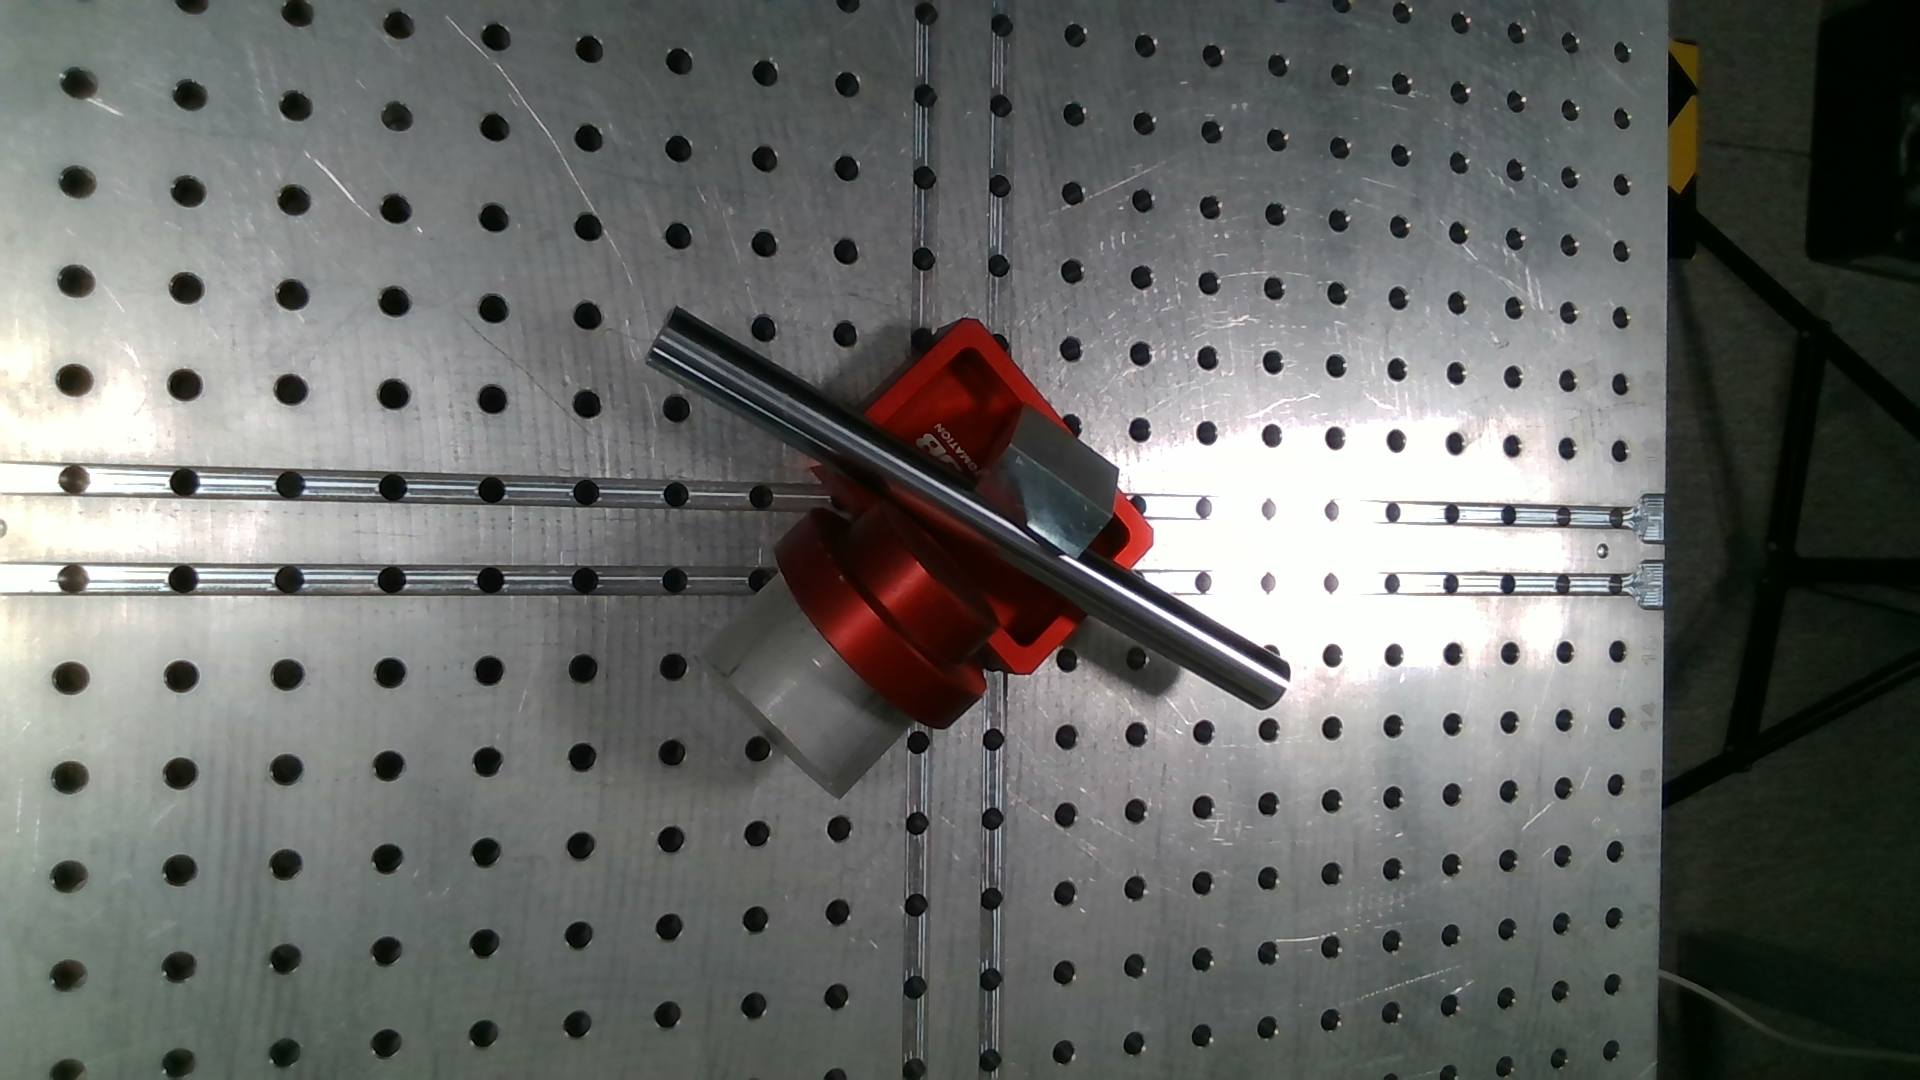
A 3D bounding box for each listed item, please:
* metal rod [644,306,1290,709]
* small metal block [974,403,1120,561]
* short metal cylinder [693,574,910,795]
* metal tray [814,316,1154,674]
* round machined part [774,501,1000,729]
[{"bbox_3d":[0.012,-0.007,0.561,0.300,0.025,0.025,29,80,-18],"label":"metal rod"},{"bbox_3d":[0.037,-0.025,0.565,0.050,0.050,0.025,35,116,-7],"label":"small metal block"},{"bbox_3d":[-0.058,0.055,0.537,0.050,0.080,0.080,-45,104,-15],"label":"short metal cylinder"},{"bbox_3d":[0.011,-0.018,0.589,0.090,0.030,0.130,-45,104,-14],"label":"metal tray"},{"bbox_3d":[-0.022,0.022,0.530,0.042,0.098,0.098,-43,105,7],"label":"round machined part"}]
